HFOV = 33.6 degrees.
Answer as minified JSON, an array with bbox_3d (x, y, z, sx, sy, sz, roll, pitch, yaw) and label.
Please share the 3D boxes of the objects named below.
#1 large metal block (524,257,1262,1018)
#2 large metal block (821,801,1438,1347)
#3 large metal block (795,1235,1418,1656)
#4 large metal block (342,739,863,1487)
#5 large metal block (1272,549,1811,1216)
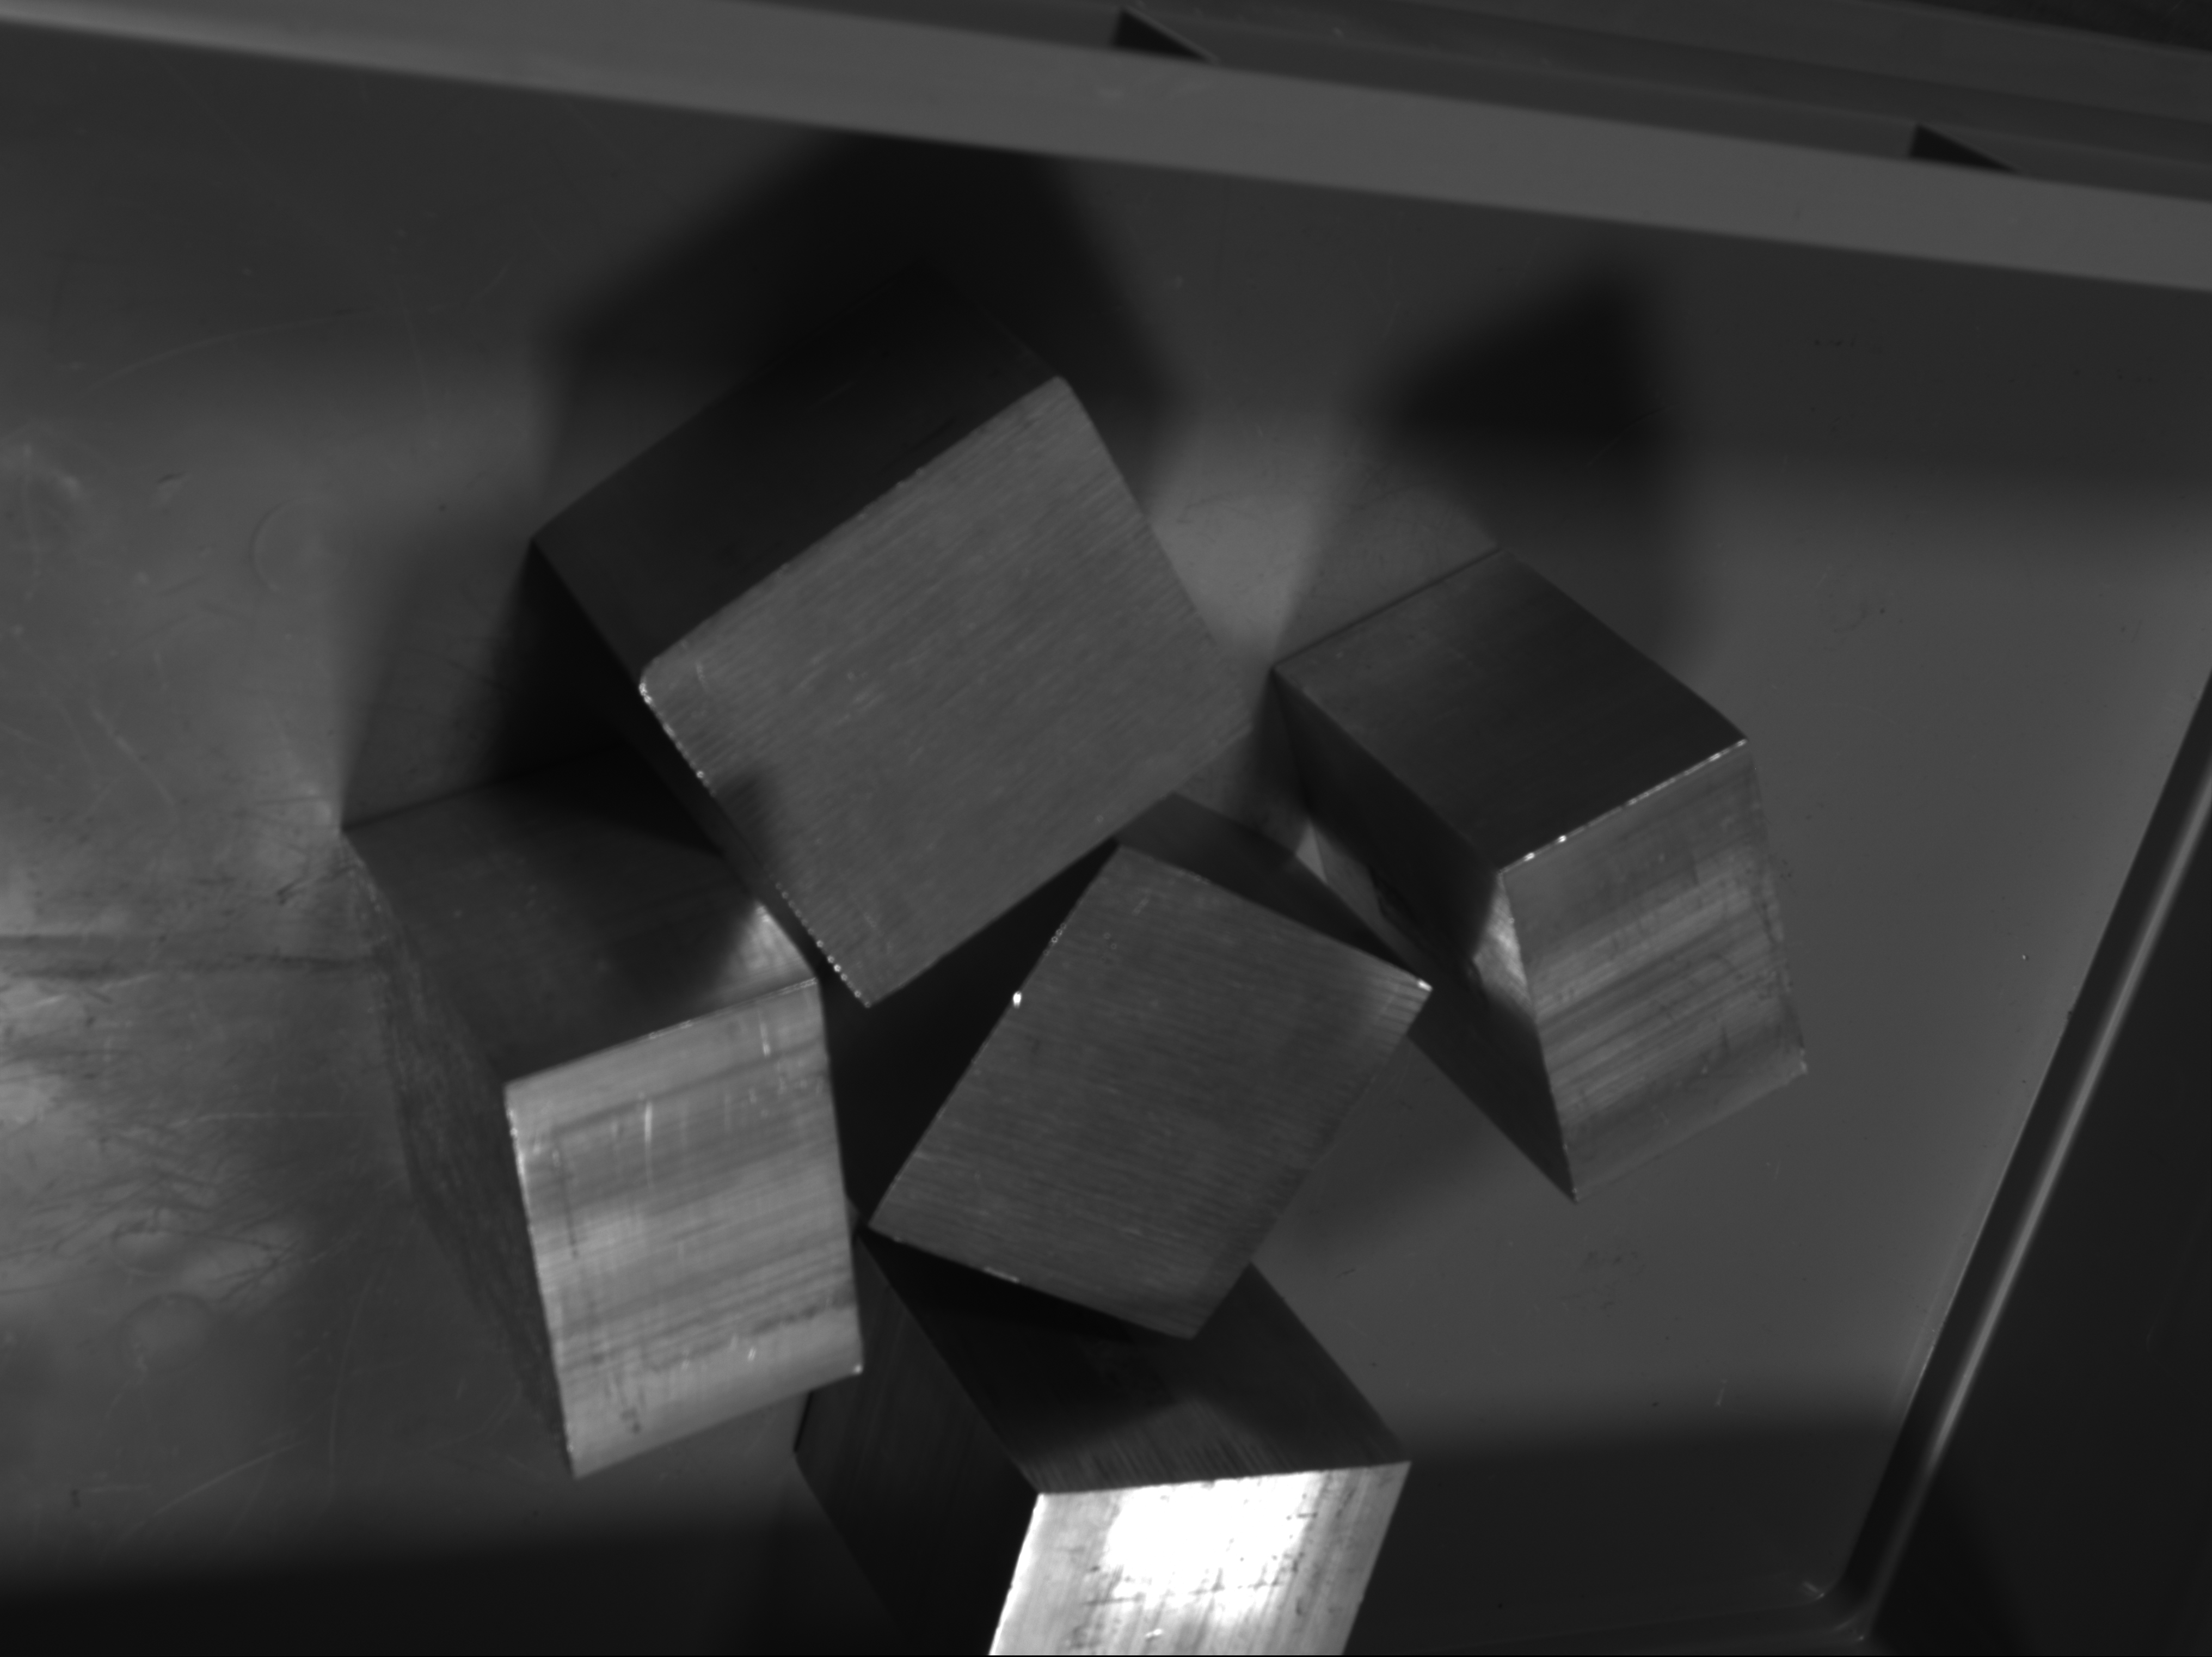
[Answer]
[{"bbox_3d":[-0.034,-0.031,0.594,0.080,0.050,0.080,-36,130,-6],"label":"large metal block"},{"bbox_3d":[-0.002,0.037,0.655,0.080,0.050,0.080,26,104,-38],"label":"large metal block"},{"bbox_3d":[-0.002,0.118,0.686,0.080,0.080,0.050,1,118,-31],"label":"large metal block"},{"bbox_3d":[-0.082,0.044,0.594,0.050,0.080,0.080,-18,126,-20],"label":"large metal block"},{"bbox_3d":[0.079,0.009,0.665,0.050,0.080,0.080,-28,129,-13],"label":"large metal block"}]
